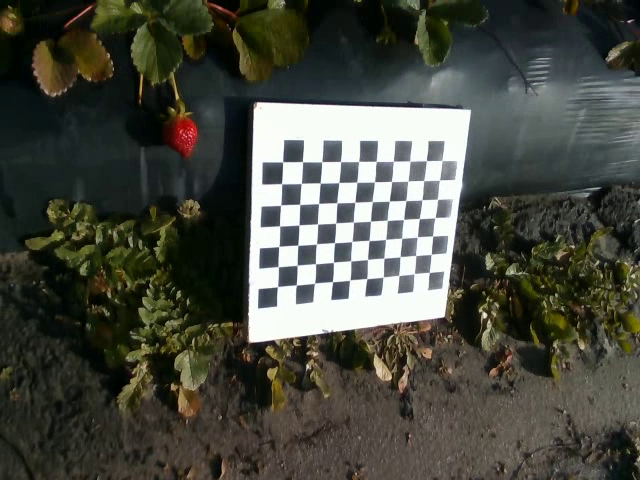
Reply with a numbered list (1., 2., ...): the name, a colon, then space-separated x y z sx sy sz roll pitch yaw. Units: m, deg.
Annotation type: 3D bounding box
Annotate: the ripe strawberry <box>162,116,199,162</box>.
1. ripe strawberry: -0.127 -0.096 0.761 0.040 0.044 0.036 -23 12 -21
